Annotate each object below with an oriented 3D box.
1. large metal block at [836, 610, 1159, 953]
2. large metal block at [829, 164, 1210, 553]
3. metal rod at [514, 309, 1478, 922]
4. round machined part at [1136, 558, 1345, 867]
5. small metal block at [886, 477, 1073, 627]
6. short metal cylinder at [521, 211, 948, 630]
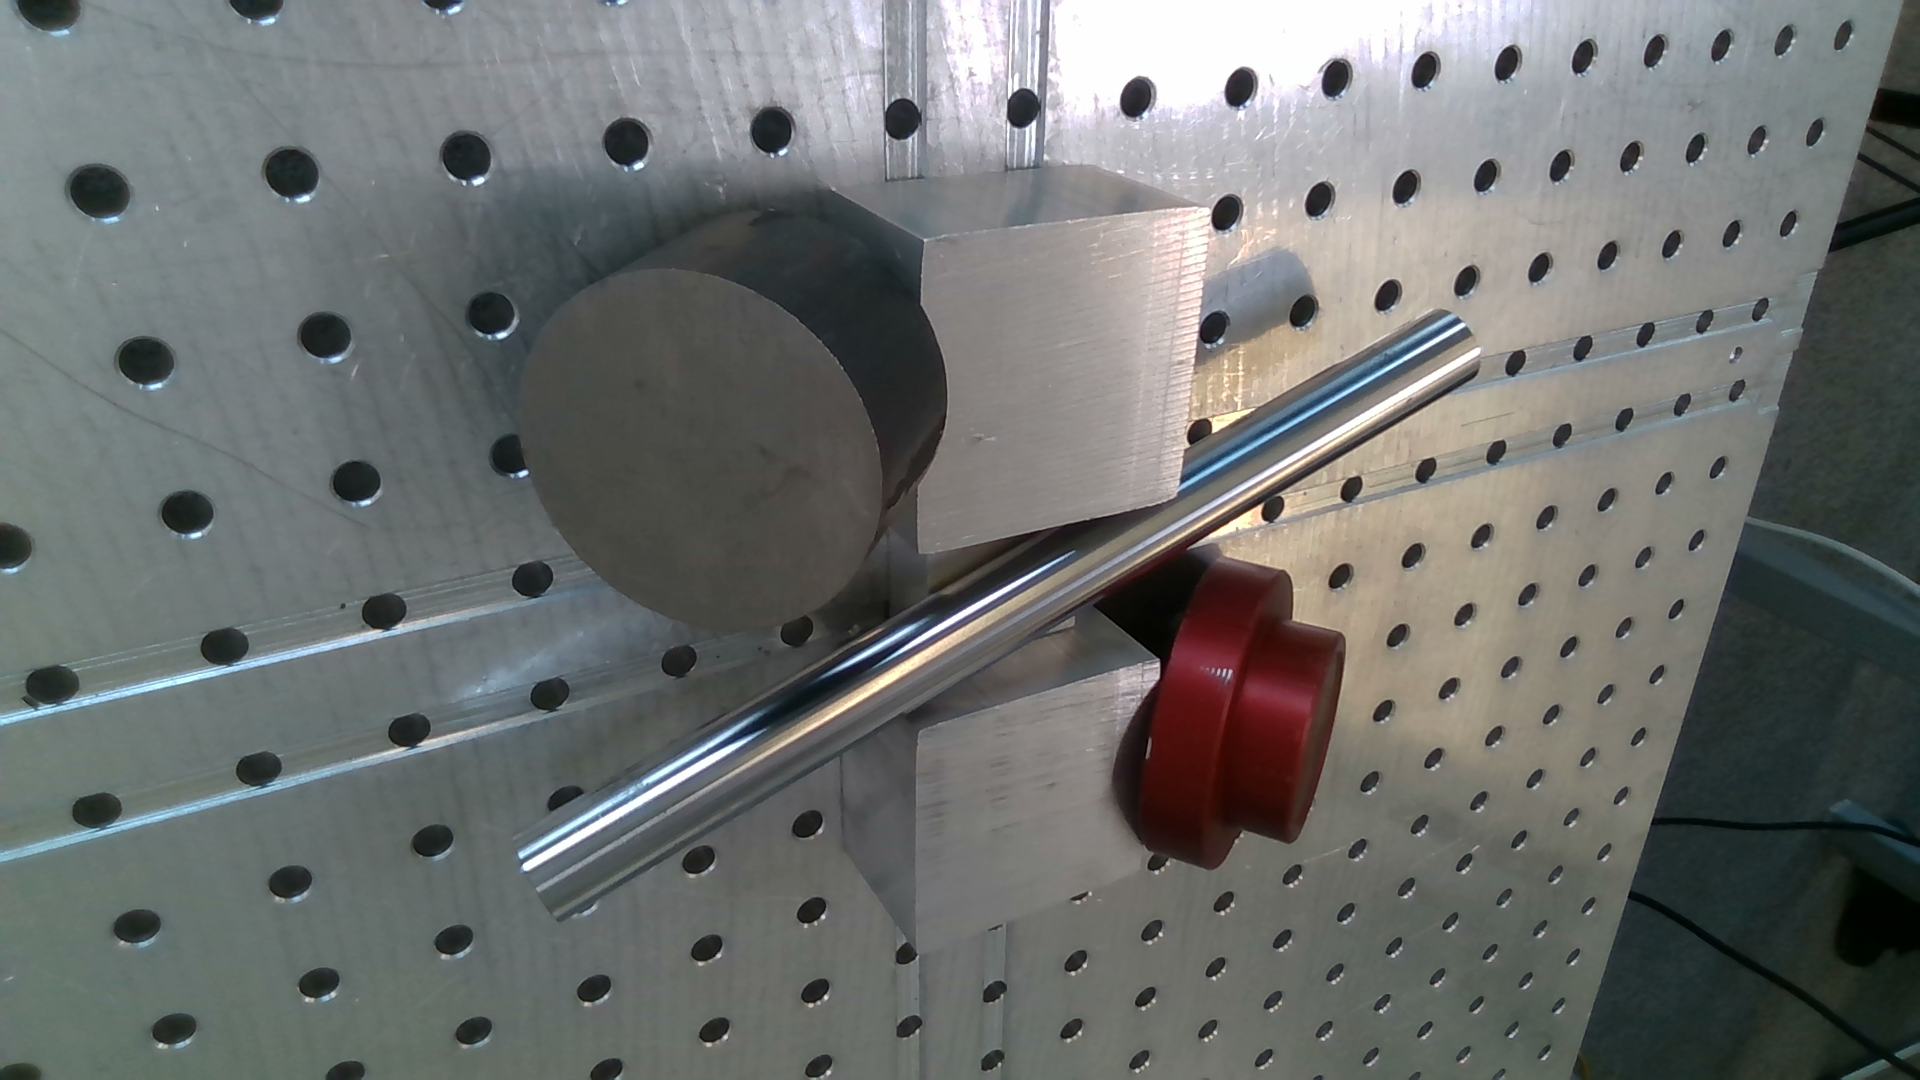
[{"bbox_3d":[0.010,0.067,0.420,0.080,0.050,0.080,-14,121,-25],"label":"large metal block"},{"bbox_3d":[0.013,-0.050,0.358,0.080,0.050,0.080,-13,121,-26],"label":"large metal block"},{"bbox_3d":[0.022,0.013,0.380,0.300,0.025,0.025,-29,127,-15],"label":"metal rod"},{"bbox_3d":[0.093,0.057,0.438,0.098,0.042,0.098,-44,141,-51],"label":"round machined part"},{"bbox_3d":[0.007,0.003,0.399,0.050,0.025,0.050,-14,121,-25],"label":"small metal block"},{"bbox_3d":[-0.048,-0.027,0.305,0.080,0.050,0.080,7,118,13],"label":"short metal cylinder"}]
